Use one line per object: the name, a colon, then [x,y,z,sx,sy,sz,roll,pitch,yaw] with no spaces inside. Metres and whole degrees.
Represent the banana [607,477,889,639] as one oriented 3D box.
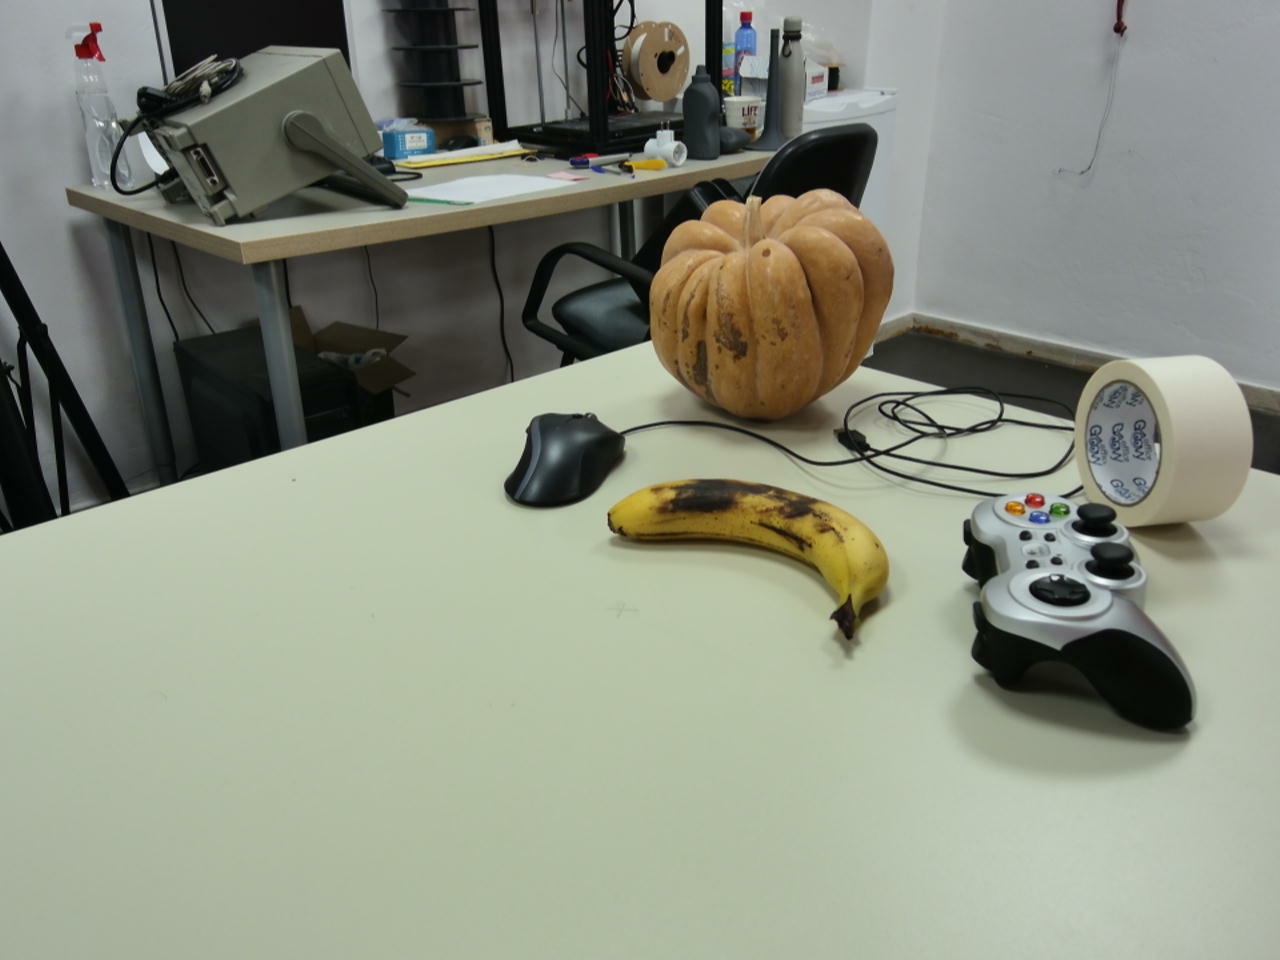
banana: [0.075,0.034,0.604,0.094,0.039,0.187,-22,32,-39]
